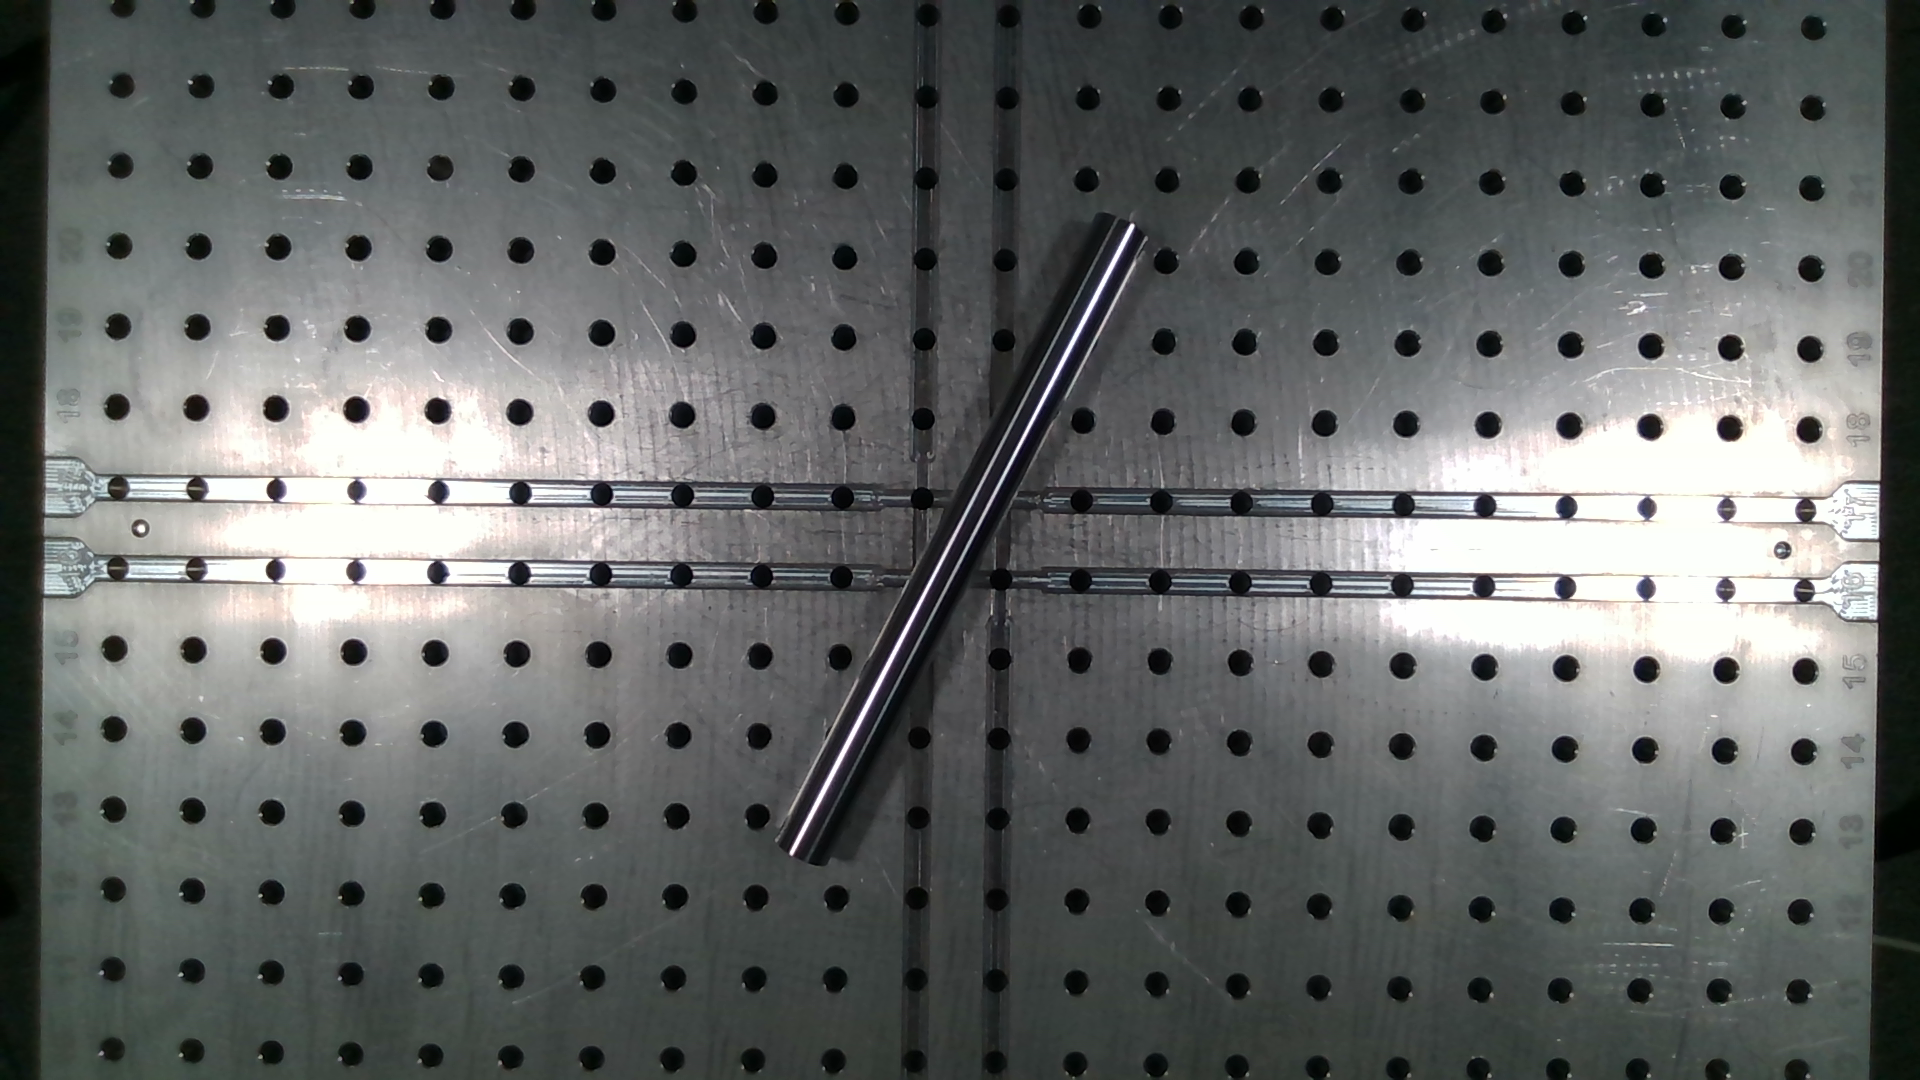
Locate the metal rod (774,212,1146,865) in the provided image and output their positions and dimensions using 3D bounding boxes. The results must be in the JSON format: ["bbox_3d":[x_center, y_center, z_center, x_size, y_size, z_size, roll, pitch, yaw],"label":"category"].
[{"bbox_3d":[0.000,0.000,0.589,0.025,0.025,0.300,27,90,0],"label":"metal rod"}]
